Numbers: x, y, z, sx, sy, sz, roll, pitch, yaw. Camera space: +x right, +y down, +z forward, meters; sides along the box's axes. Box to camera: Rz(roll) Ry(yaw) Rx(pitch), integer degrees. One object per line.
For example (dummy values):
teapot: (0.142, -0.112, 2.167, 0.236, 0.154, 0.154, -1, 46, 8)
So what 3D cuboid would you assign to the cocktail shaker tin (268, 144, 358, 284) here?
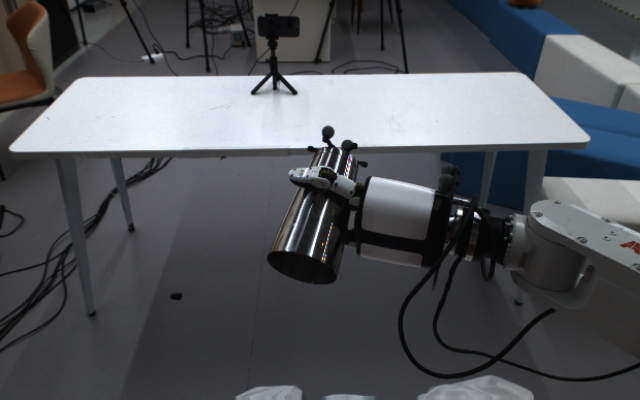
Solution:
cocktail shaker tin: (0.001, 0.015, 0.640, 0.093, 0.093, 0.170, 11, 60, 12)
